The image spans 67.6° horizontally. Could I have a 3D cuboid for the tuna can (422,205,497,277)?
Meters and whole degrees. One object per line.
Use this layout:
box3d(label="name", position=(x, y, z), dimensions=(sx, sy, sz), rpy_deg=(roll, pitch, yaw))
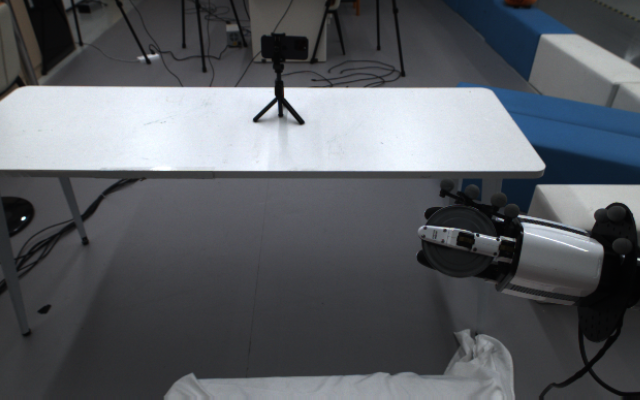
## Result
box3d(label="tuna can", position=(0.168, 0.047, 0.578), dimensions=(0.085, 0.085, 0.034), rpy_deg=(14, -7, 16))
